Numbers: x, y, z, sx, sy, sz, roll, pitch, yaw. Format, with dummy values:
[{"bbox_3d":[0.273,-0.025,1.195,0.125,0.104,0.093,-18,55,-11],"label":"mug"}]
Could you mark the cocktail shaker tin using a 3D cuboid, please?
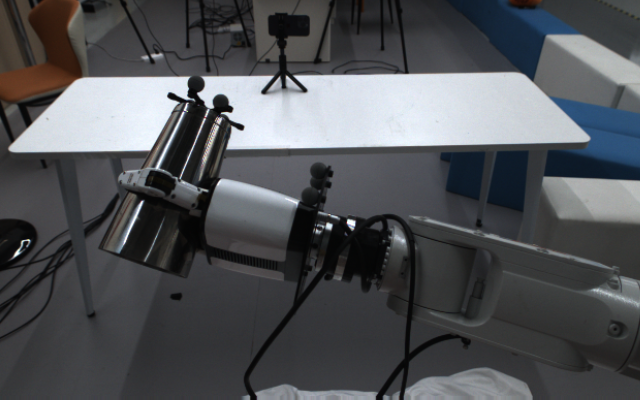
[{"bbox_3d":[-0.153,-0.012,0.512,0.093,0.093,0.170,14,73,16],"label":"cocktail shaker tin"}]
